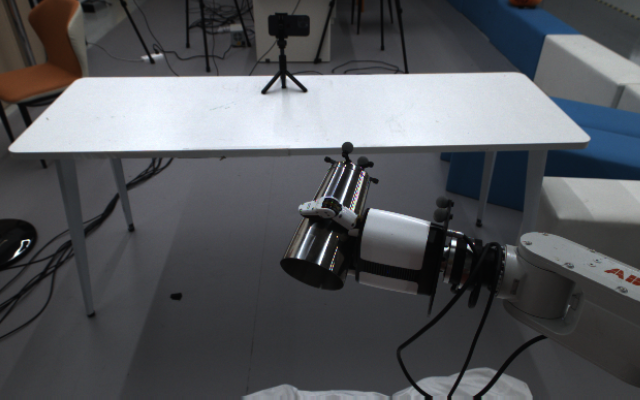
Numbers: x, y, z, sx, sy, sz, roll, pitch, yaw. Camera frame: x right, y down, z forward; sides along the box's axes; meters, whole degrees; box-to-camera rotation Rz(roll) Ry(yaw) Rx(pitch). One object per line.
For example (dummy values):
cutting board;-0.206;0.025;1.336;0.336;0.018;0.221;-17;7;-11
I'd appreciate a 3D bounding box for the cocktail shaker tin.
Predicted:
cocktail shaker tin;0.014;0.031;0.687;0.093;0.093;0.170;15;61;18
